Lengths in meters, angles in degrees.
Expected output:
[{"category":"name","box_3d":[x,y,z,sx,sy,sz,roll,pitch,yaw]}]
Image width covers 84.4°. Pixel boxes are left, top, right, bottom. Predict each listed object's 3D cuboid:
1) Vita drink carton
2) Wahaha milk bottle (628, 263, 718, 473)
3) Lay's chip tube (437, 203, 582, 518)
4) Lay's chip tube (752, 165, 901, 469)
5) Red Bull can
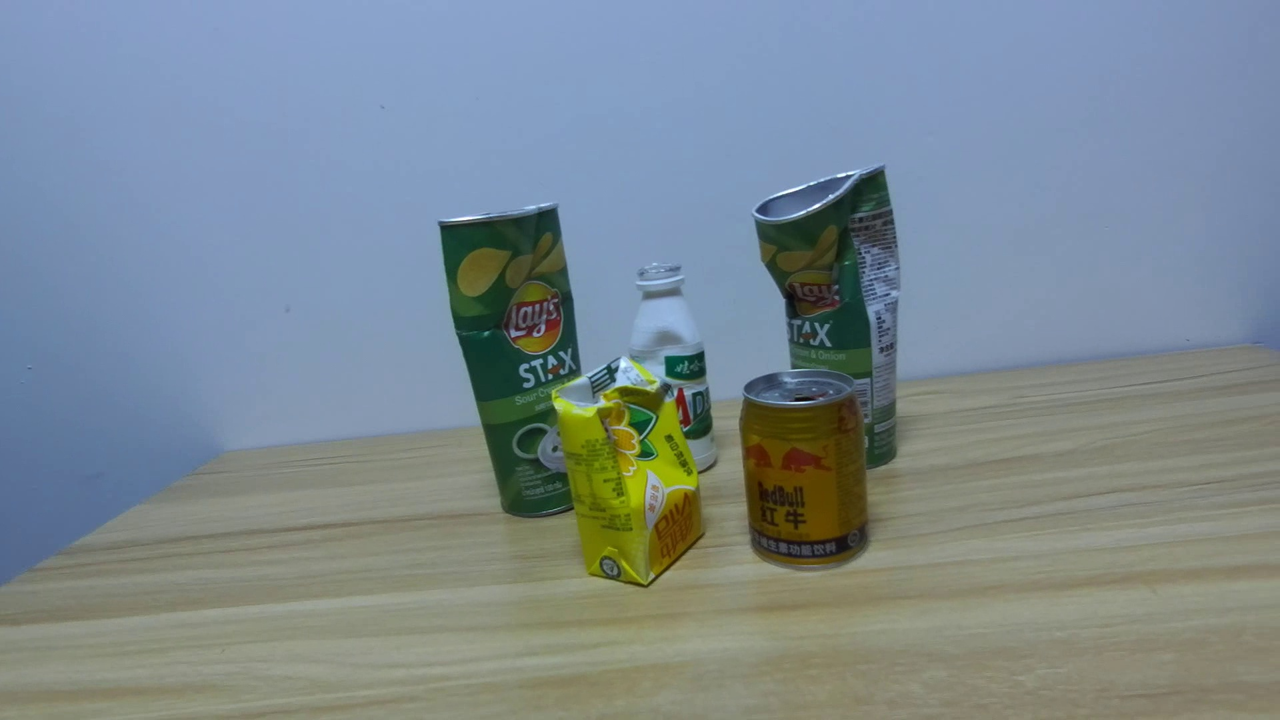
[{"category":"Vita drink carton","box_3d":[-0.003,0.059,0.392,0.046,0.109,0.071,0,17,37]},{"category":"Wahaha milk bottle","box_3d":[0.022,0.007,0.503,0.055,0.149,0.055,-5,12,1]},{"category":"Lay's chip tube","box_3d":[-0.077,0.001,0.481,0.069,0.199,0.075,-7,14,4]},{"category":"Lay's chip tube","box_3d":[0.130,-0.022,0.476,0.078,0.199,0.071,2,25,37]},{"category":"Red Bull can","box_3d":[0.089,0.057,0.385,0.067,0.093,0.067,-6,14,2]}]
